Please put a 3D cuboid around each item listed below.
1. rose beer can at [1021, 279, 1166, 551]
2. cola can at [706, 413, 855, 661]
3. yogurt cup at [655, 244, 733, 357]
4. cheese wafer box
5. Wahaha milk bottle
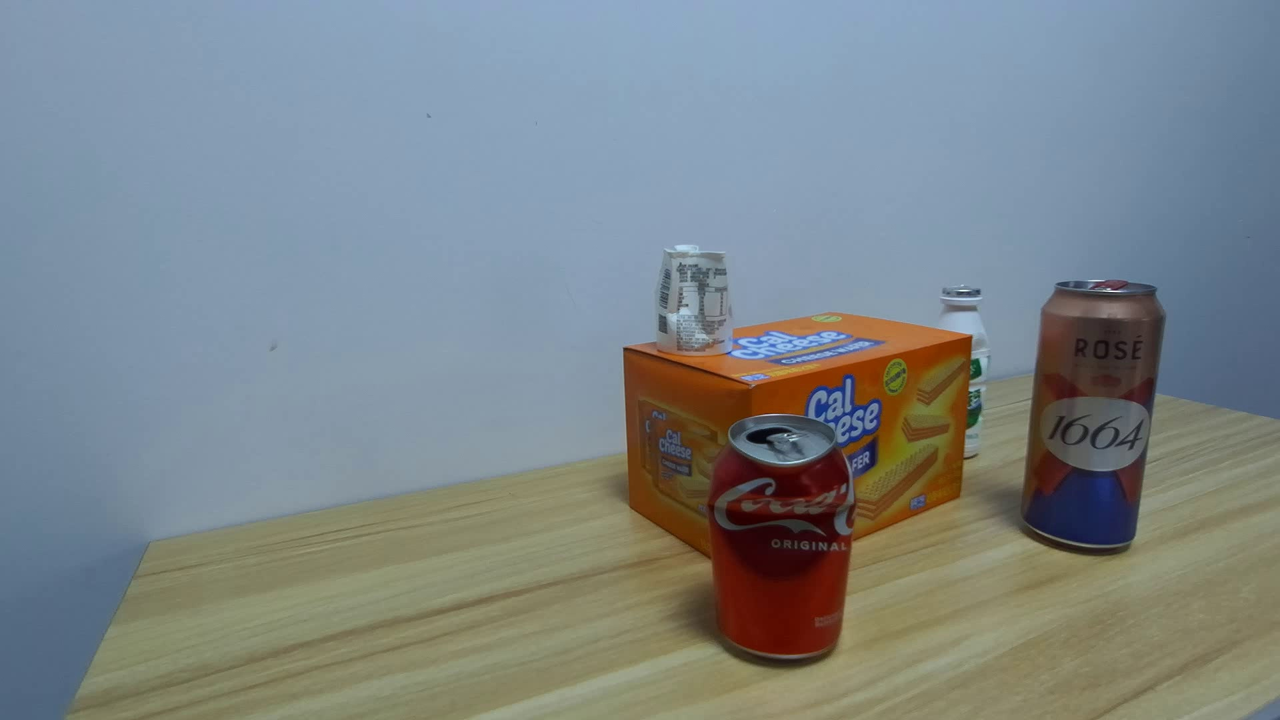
[{"bbox_3d":[0.295,0.037,0.462,0.068,0.169,0.068,0,13,0],"label":"rose beer can"},{"bbox_3d":[0.075,0.090,0.367,0.072,0.117,0.065,3,13,17],"label":"cola can"},{"bbox_3d":[0.037,-0.042,0.493,0.055,0.072,0.055,2,13,14],"label":"yogurt cup"},{"bbox_3d":[0.117,0.048,0.528,0.223,0.129,0.147,-10,16,-32],"label":"cheese wafer box"},{"bbox_3d":[0.280,0.016,0.627,0.053,0.136,0.053,-1,13,1],"label":"Wahaha milk bottle"}]
